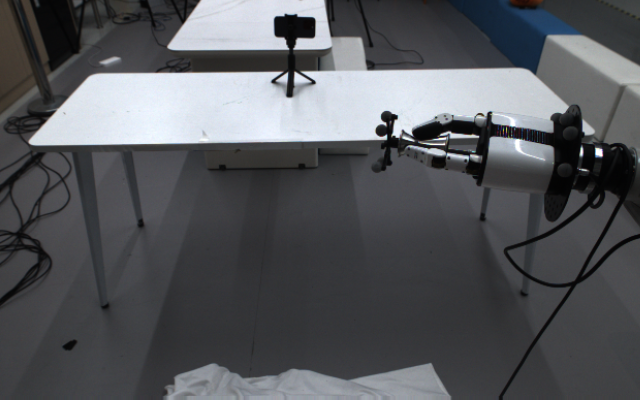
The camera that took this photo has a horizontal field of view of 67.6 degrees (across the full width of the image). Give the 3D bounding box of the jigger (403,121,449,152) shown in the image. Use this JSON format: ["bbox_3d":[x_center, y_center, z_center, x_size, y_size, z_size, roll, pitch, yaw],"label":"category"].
[{"bbox_3d":[0.155,-0.081,0.698,0.071,0.043,0.043,9,35,17],"label":"jigger"}]
